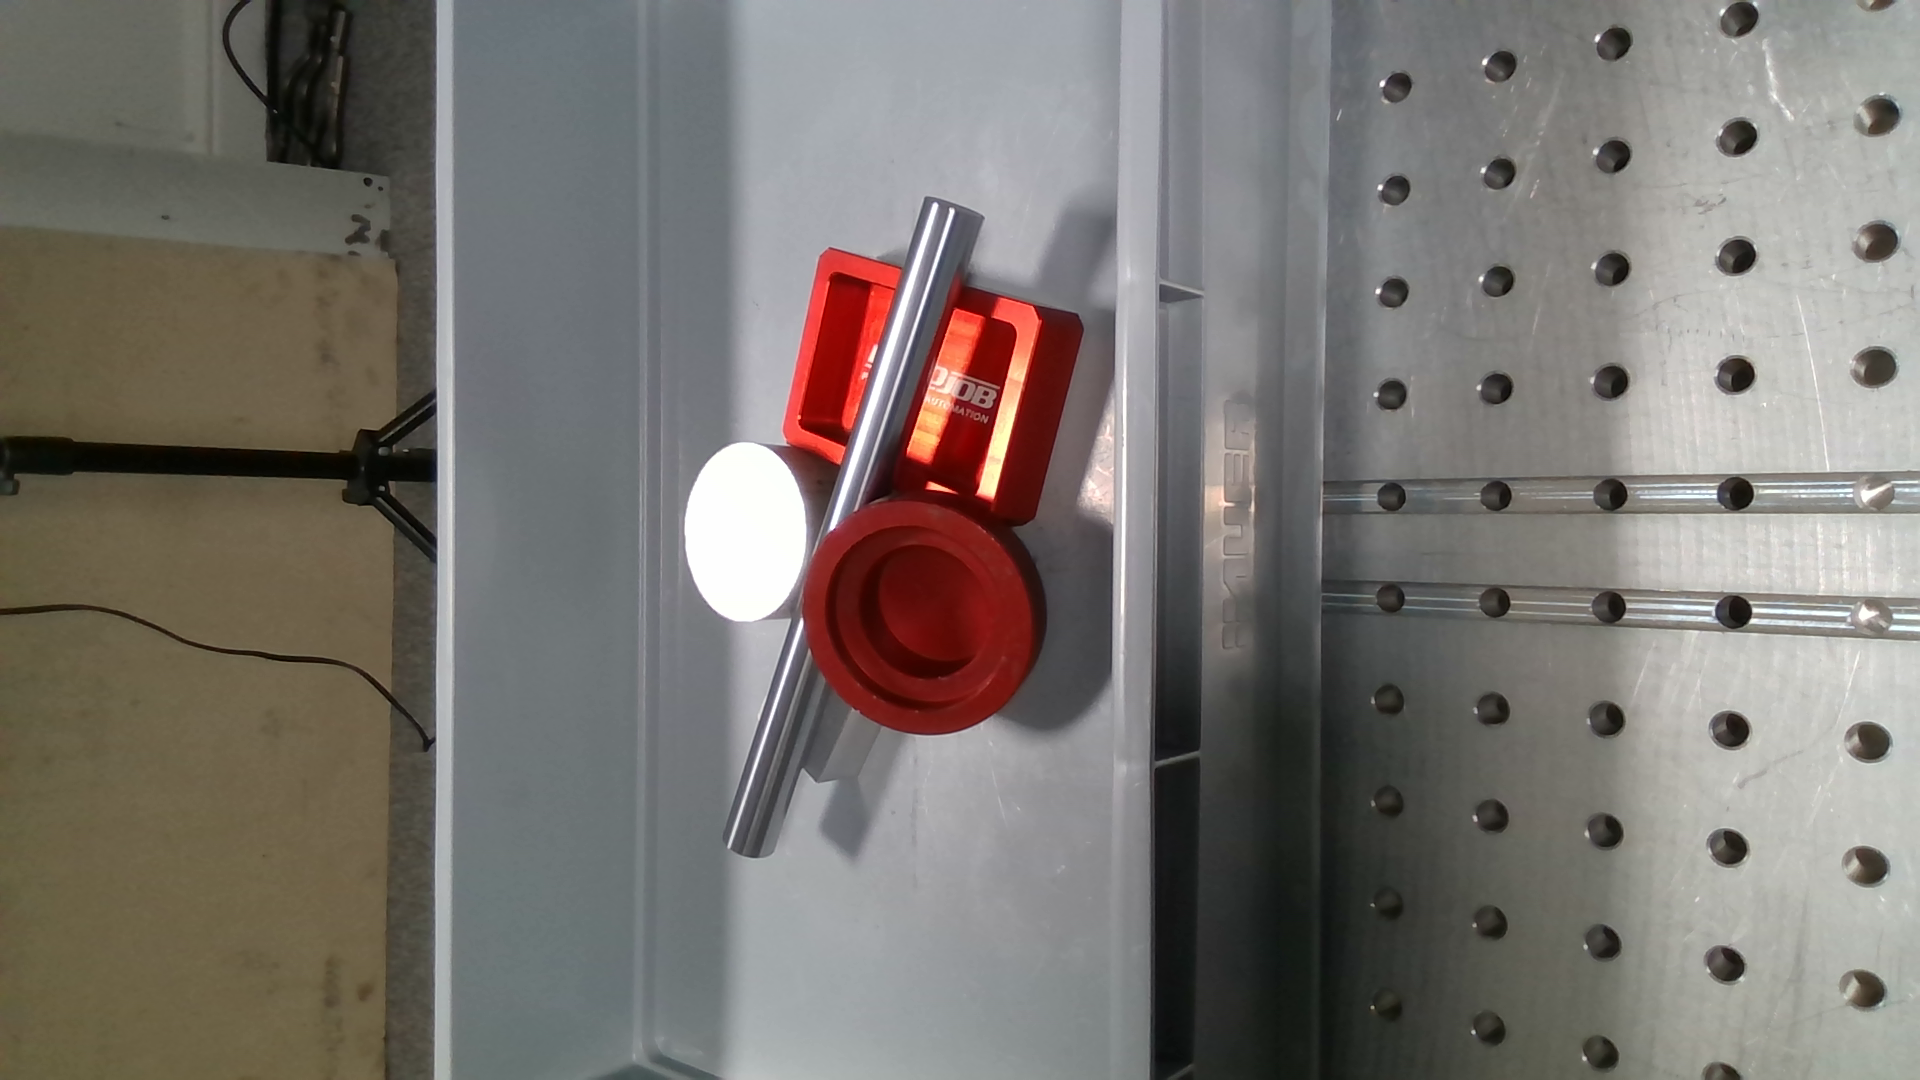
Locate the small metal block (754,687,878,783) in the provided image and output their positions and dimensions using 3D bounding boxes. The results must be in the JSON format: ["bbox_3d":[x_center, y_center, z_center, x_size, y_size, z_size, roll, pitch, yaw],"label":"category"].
[{"bbox_3d":[-0.063,0.075,0.634,0.050,0.025,0.050,39,114,33],"label":"small metal block"}]

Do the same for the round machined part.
[{"bbox_3d":[-0.013,0.027,0.564,0.098,0.042,0.098,4,105,17],"label":"round machined part"}]

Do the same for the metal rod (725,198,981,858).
[{"bbox_3d":[-0.049,0.005,0.585,0.025,0.025,0.301,33,113,35],"label":"metal rod"}]

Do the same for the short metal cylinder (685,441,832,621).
[{"bbox_3d":[-0.081,-0.004,0.632,0.080,0.050,0.080,0,91,40],"label":"short metal cylinder"}]

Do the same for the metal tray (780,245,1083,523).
[{"bbox_3d":[-0.016,-0.068,0.589,0.130,0.030,0.090,23,105,38],"label":"metal tray"}]
